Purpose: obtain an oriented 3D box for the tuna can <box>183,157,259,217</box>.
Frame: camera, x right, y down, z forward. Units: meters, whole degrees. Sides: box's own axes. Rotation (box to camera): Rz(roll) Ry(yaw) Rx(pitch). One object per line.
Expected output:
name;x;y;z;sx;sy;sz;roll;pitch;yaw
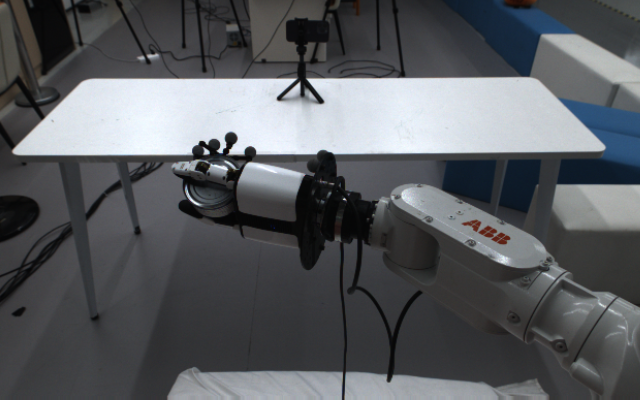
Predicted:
tuna can;-0.146;-0.018;0.683;0.085;0.034;0.085;-3;61;5
